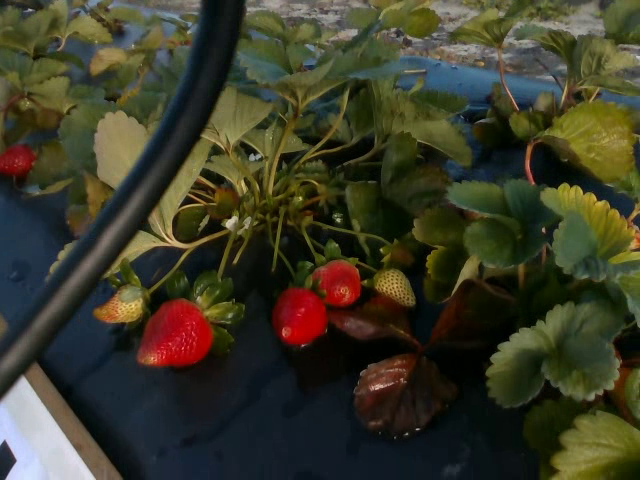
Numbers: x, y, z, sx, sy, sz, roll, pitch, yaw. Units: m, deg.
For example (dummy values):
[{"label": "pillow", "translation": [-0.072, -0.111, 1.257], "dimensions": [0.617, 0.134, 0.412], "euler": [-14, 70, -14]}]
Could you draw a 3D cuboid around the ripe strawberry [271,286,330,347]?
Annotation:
[{"label": "ripe strawberry", "translation": [-0.018, 0.055, 0.396], "dimensions": [0.044, 0.042, 0.055], "euler": [-40, 1, 17]}]

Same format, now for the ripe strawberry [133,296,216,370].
[{"label": "ripe strawberry", "translation": [-0.103, 0.064, 0.402], "dimensions": [0.050, 0.050, 0.065], "euler": [-19, 5, 31]}]
